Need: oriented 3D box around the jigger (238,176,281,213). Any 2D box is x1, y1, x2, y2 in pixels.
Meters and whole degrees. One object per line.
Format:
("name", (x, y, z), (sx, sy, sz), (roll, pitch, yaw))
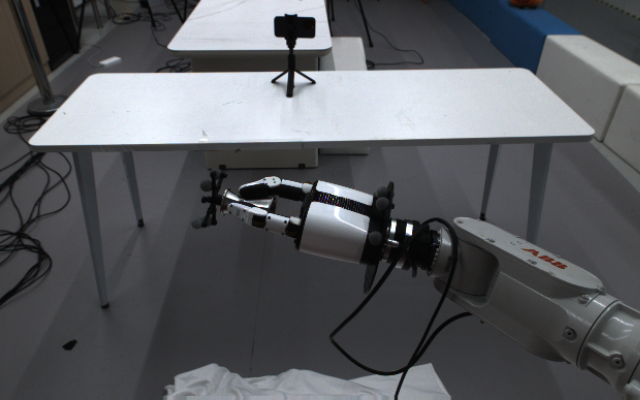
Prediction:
("jigger", (-0.093, 0.006, 0.675), (0.071, 0.043, 0.043), (11, 35, 5))
